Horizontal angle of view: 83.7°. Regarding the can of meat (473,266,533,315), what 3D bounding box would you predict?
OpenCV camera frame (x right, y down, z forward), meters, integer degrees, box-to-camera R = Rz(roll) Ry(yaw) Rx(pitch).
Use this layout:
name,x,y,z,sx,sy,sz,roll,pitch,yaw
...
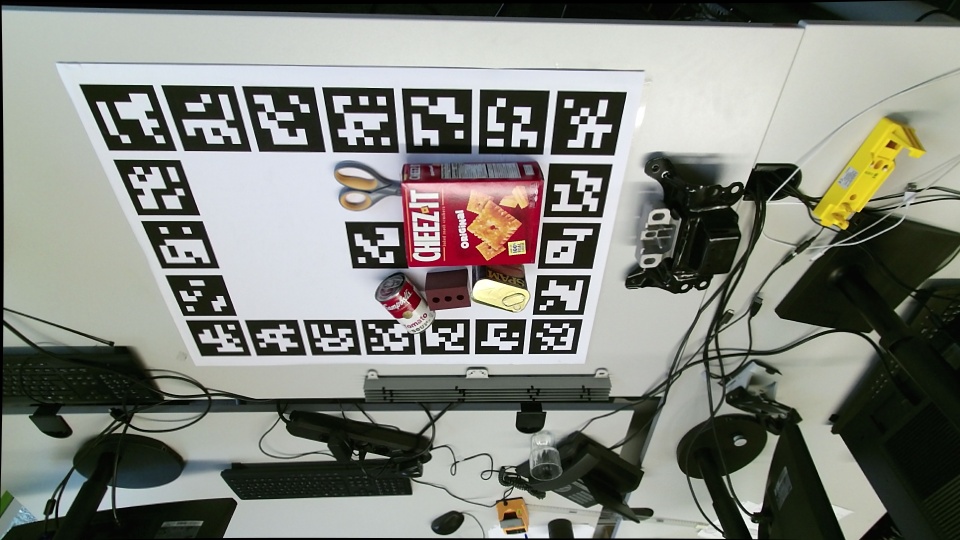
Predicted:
name,x,y,z,sx,sy,sz,roll,pitch,yaw
can of meat,0.038,0.031,0.952,0.102,0.083,0.058,12,123,-10

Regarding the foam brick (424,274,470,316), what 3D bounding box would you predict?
name,x,y,z,sx,sy,sz,roll,pitch,yaw
foam brick,-0.060,0.045,0.981,0.078,0.051,0.053,-8,124,3

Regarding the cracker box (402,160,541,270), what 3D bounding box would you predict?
name,x,y,z,sx,sy,sz,roll,pitch,yaw
cracker box,-0.010,-0.081,0.863,0.214,0.071,0.164,-6,126,-3

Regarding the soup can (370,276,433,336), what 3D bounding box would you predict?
name,x,y,z,sx,sy,sz,roll,pitch,yaw
soup can,-0.143,0.068,0.992,0.068,0.067,0.102,-31,126,18

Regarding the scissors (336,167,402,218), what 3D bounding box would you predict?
name,x,y,z,sx,sy,sz,roll,pitch,yaw
scissors,-0.125,-0.128,0.863,0.203,0.016,0.088,-4,125,0
